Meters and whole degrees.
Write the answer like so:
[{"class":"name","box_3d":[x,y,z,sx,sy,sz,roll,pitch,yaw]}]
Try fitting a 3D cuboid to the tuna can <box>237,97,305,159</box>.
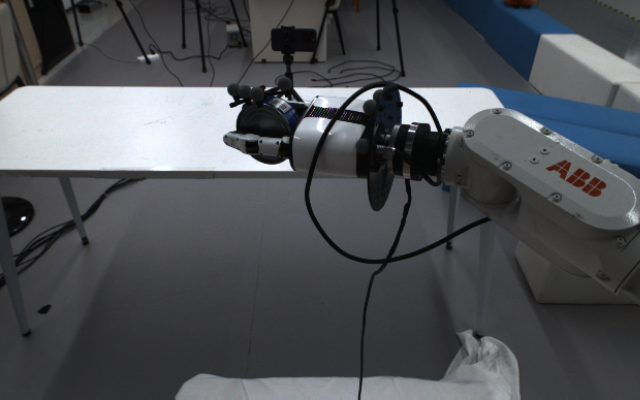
[{"class":"tuna can","box_3d":[-0.065,-0.093,0.643,0.085,0.085,0.034,17,36,20]}]
